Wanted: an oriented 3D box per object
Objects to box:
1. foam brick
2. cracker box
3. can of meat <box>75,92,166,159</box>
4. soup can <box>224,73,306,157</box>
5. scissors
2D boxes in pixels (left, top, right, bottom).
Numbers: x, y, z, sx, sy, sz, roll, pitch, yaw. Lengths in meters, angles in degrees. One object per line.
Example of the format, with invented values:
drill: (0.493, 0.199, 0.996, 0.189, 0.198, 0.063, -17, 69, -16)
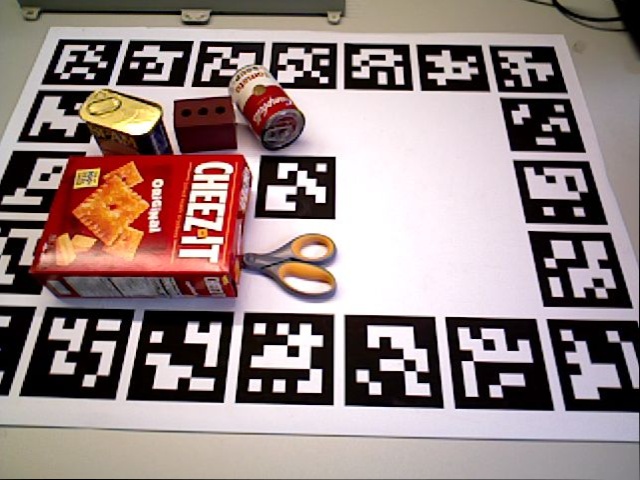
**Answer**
foam brick: (-0.157, -0.147, 0.717, 0.077, 0.052, 0.052, -7, 61, -4)
cracker box: (-0.205, -0.013, 0.613, 0.213, 0.073, 0.162, -5, 60, 2)
can of meat: (-0.253, -0.132, 0.687, 0.102, 0.085, 0.057, 14, 61, 7)
soup can: (-0.075, -0.169, 0.727, 0.067, 0.069, 0.101, -32, 60, -17)
scissors: (-0.091, 0.037, 0.620, 0.202, 0.016, 0.086, -3, 61, -1)
